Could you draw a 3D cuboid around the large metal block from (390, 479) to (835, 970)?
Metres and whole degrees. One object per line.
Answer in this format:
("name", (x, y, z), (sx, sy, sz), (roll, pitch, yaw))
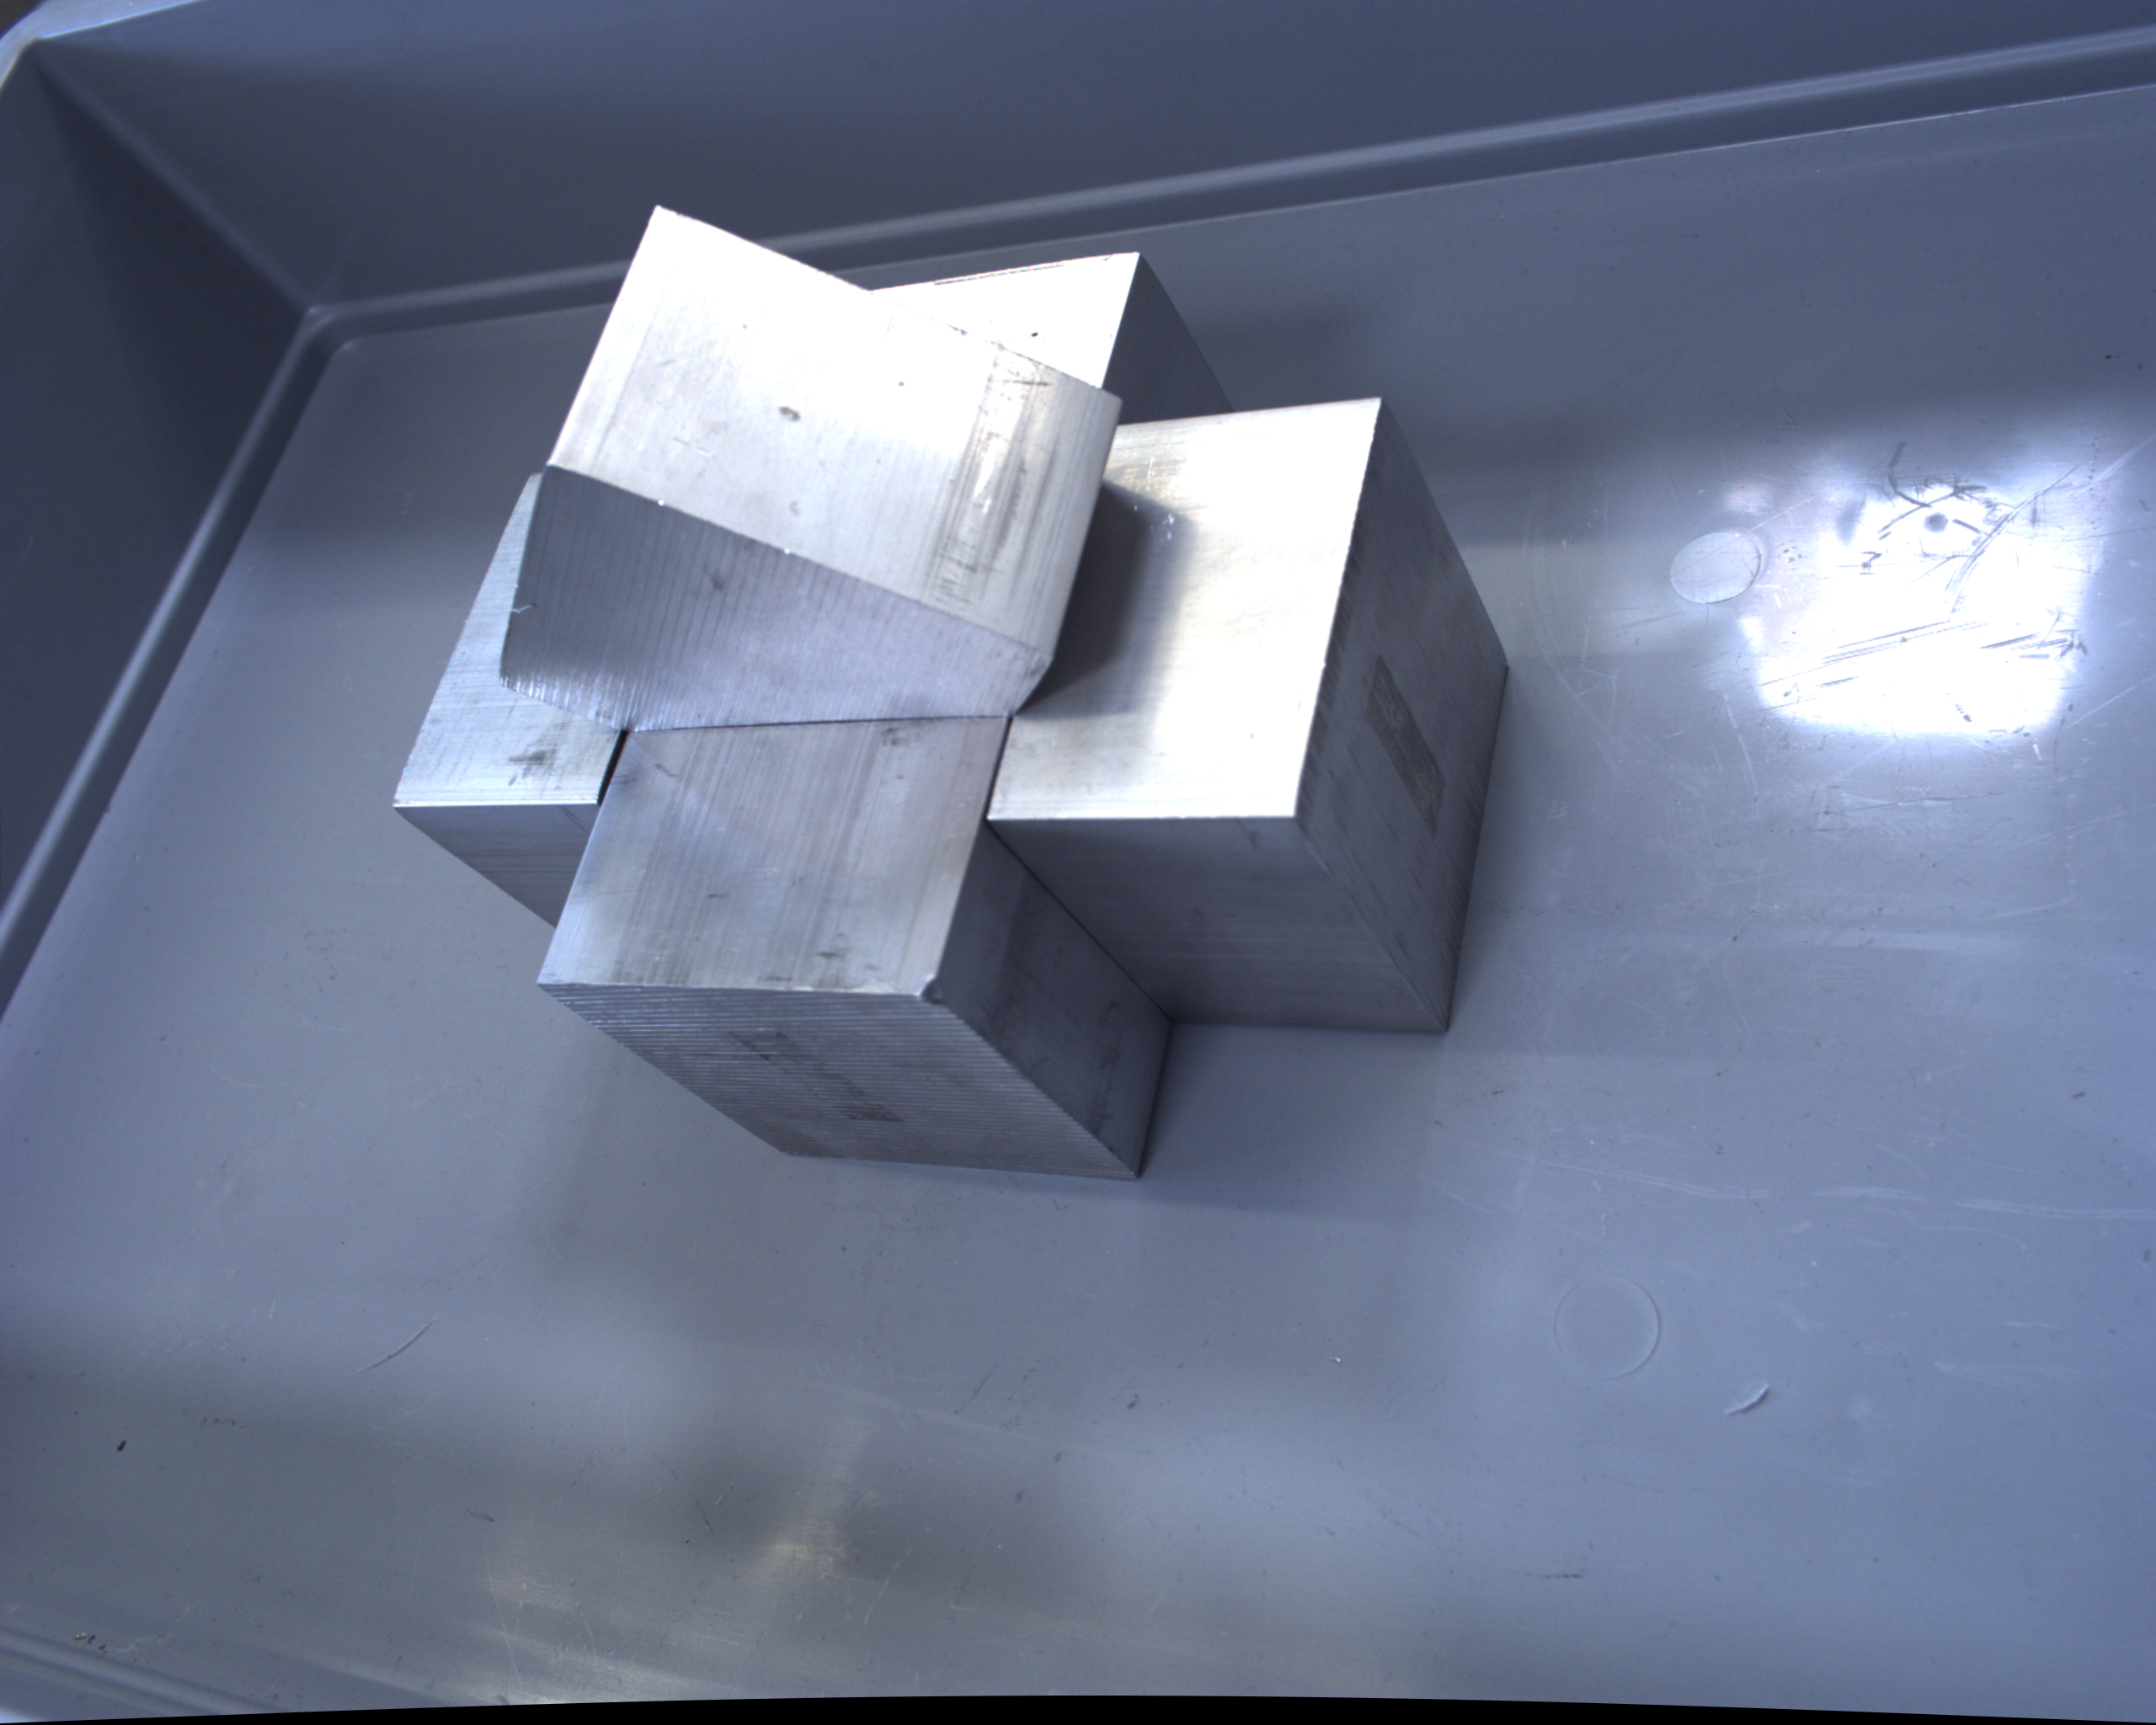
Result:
("large metal block", (-0.081, -0.027, 0.429), (0.050, 0.080, 0.080), (0, 62, 28))

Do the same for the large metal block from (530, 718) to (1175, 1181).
("large metal block", (-0.035, 0.017, 0.377), (0.080, 0.080, 0.050), (0, 62, 28))

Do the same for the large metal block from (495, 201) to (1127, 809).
("large metal block", (-0.048, -0.053, 0.354), (0.080, 0.080, 0.050), (20, 65, -13))

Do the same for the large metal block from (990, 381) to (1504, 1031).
("large metal block", (0.034, -0.024, 0.364), (0.050, 0.080, 0.080), (0, 62, 28))

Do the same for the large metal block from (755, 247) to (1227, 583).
("large metal block", (-0.012, -0.072, 0.420), (0.080, 0.080, 0.050), (0, 62, 28))
